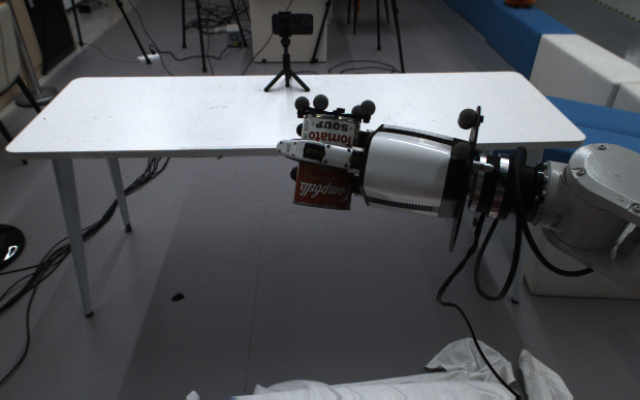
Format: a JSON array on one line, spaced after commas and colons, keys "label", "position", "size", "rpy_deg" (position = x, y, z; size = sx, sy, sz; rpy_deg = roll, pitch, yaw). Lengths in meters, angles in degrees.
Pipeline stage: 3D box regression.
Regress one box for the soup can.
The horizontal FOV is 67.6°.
[{"label": "soup can", "position": [0.010, -0.042, 0.557], "size": [0.067, 0.101, 0.067], "rpy_deg": [7, 3, 0]}]
